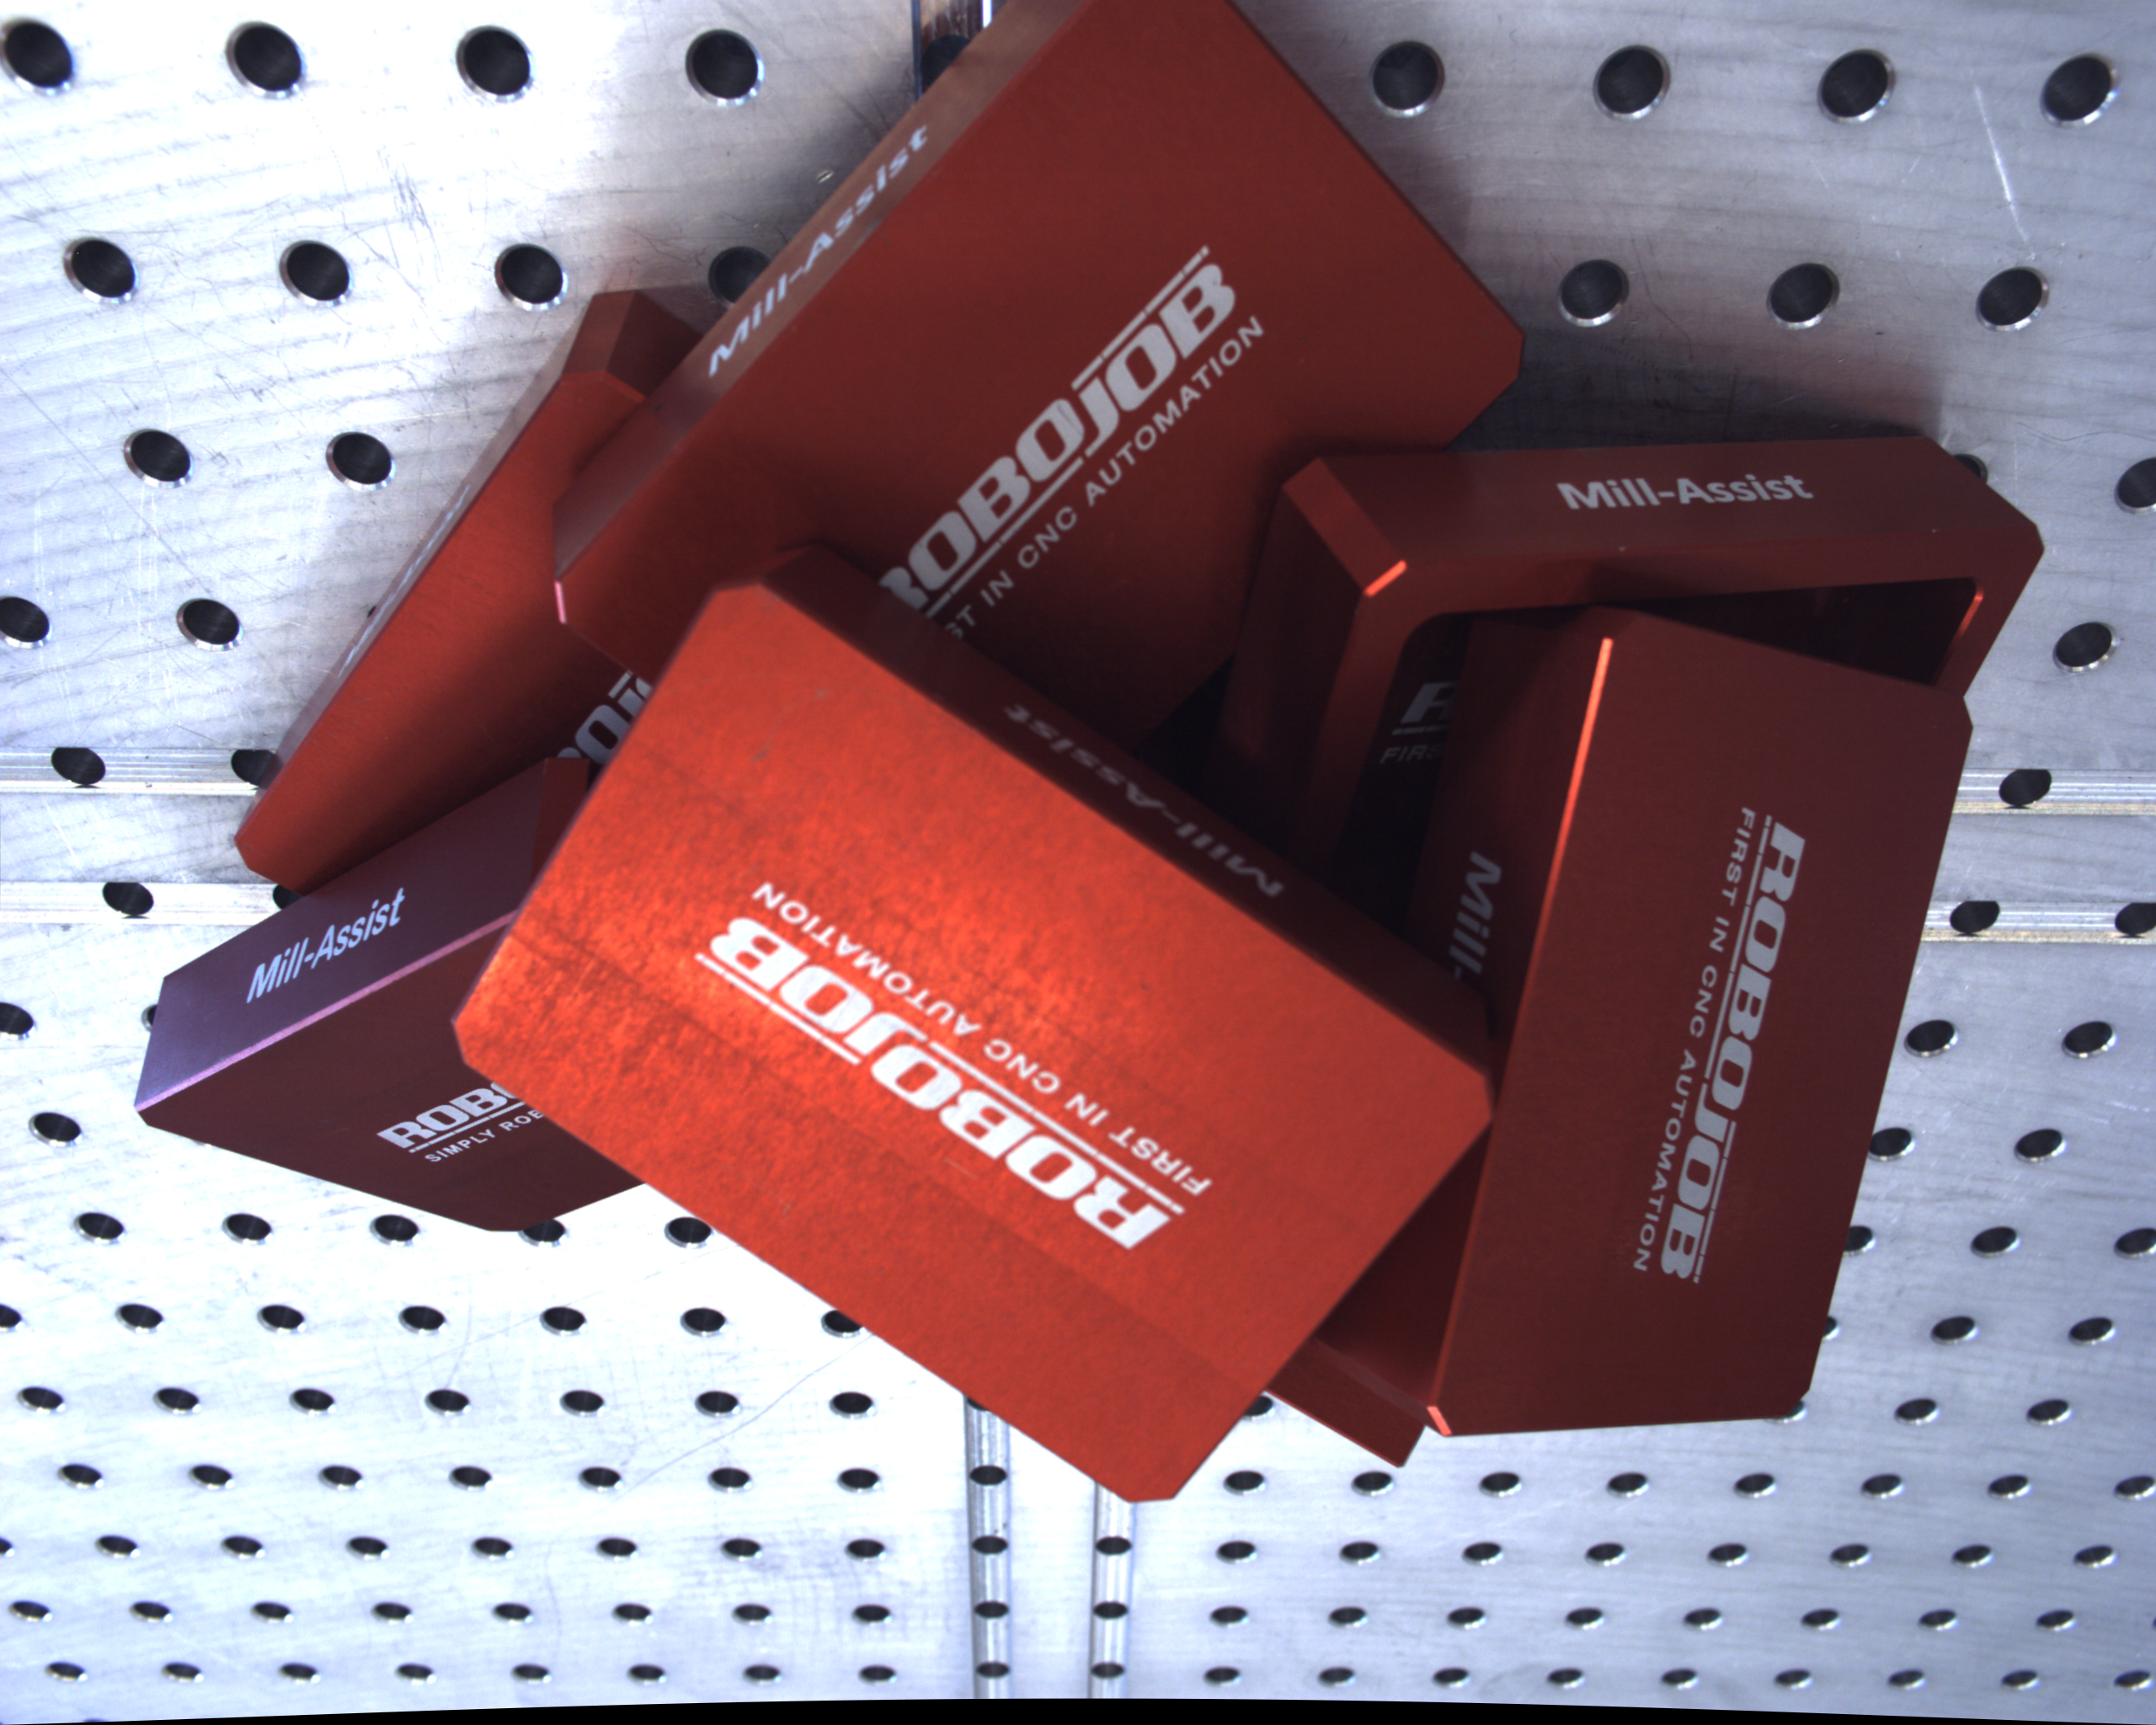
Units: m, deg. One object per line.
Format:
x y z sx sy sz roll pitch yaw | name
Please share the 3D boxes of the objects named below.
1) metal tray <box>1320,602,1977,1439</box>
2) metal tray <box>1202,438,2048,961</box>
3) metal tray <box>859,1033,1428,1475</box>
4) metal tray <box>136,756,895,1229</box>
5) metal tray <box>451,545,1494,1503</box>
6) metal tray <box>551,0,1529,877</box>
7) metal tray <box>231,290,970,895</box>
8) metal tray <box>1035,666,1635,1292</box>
0.097 0.028 0.349 0.091 0.030 0.129 8 97 -33 | metal tray
0.090 -0.025 0.358 0.131 0.030 0.089 -6 133 -22 | metal tray
0.005 0.068 0.408 0.090 0.130 0.030 35 80 -27 | metal tray
-0.105 0.031 0.404 0.130 0.030 0.090 -24 143 33 | metal tray
-0.016 0.025 0.314 0.130 0.030 0.090 35 110 -3 | metal tray
-0.007 -0.066 0.327 0.130 0.030 0.090 -43 121 14 | metal tray
-0.083 -0.028 0.383 0.090 0.030 0.129 31 123 -24 | metal tray
0.050 0.021 0.388 0.130 0.090 0.030 37 121 -26 | metal tray
